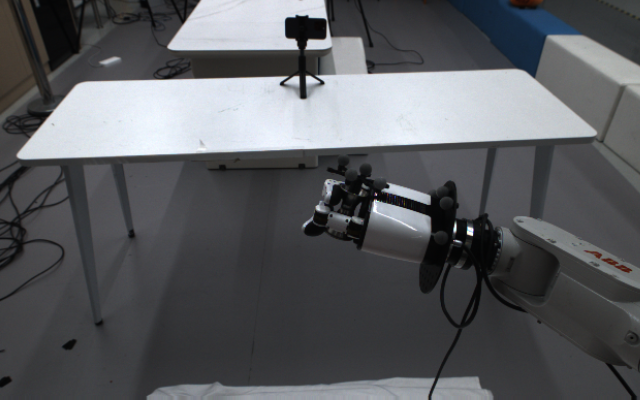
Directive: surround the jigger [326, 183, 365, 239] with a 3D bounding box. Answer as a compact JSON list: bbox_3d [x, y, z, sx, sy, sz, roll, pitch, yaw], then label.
[{"bbox_3d":[0.037,0.017,0.668,0.043,0.071,0.043,18,17,-6],"label":"jigger"}]
